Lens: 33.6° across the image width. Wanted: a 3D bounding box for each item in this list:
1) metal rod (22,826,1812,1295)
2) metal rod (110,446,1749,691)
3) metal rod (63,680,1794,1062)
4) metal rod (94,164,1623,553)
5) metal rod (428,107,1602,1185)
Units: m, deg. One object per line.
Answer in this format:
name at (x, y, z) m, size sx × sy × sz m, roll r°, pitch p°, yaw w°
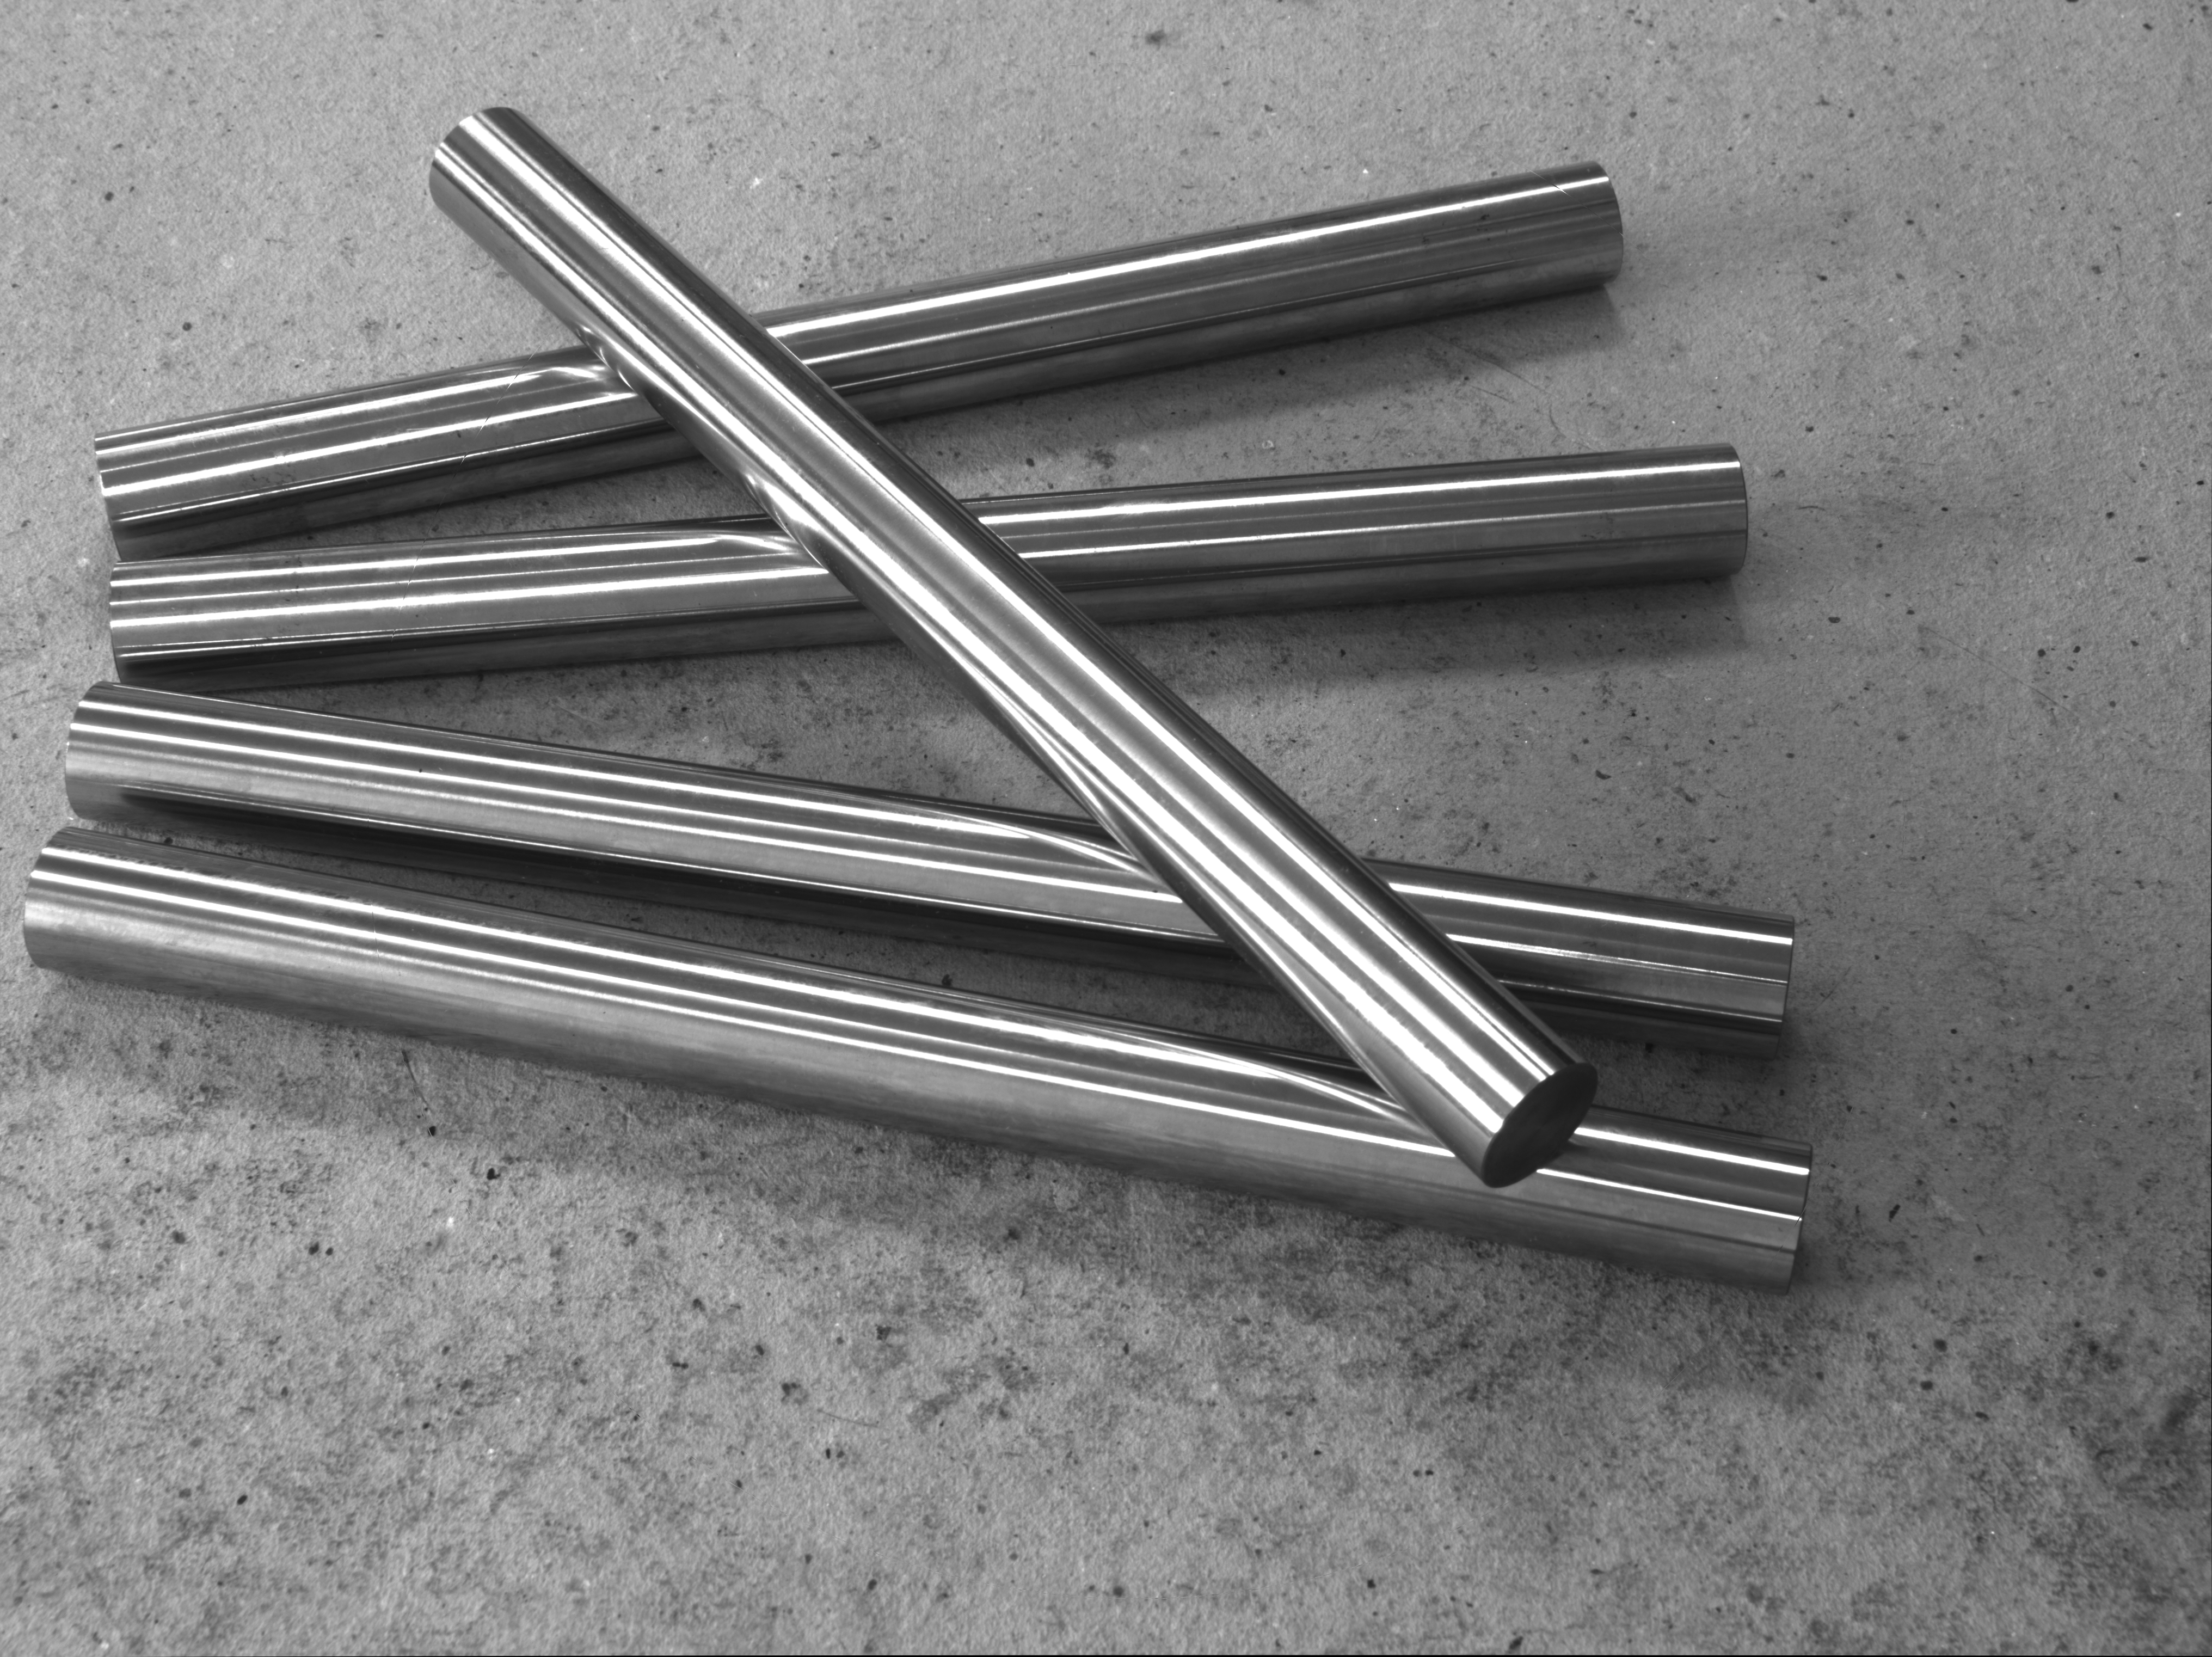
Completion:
metal rod at (-0.035, 0.037, 0.611) m, size 0.300 × 0.025 × 0.025 m, roll 10°, pitch 51°, yaw 8°
metal rod at (-0.031, -0.048, 0.683) m, size 0.300 × 0.025 × 0.025 m, roll -4°, pitch 50°, yaw -4°
metal rod at (-0.033, 0.007, 0.636) m, size 0.300 × 0.025 × 0.025 m, roll 8°, pitch 50°, yaw 7°
metal rod at (-0.044, -0.093, 0.721) m, size 0.300 × 0.025 × 0.025 m, roll -12°, pitch 51°, yaw -10°
metal rod at (-0.027, -0.042, 0.644) m, size 0.025 × 0.025 × 0.299 m, roll -32°, pitch 57°, yaw -24°
